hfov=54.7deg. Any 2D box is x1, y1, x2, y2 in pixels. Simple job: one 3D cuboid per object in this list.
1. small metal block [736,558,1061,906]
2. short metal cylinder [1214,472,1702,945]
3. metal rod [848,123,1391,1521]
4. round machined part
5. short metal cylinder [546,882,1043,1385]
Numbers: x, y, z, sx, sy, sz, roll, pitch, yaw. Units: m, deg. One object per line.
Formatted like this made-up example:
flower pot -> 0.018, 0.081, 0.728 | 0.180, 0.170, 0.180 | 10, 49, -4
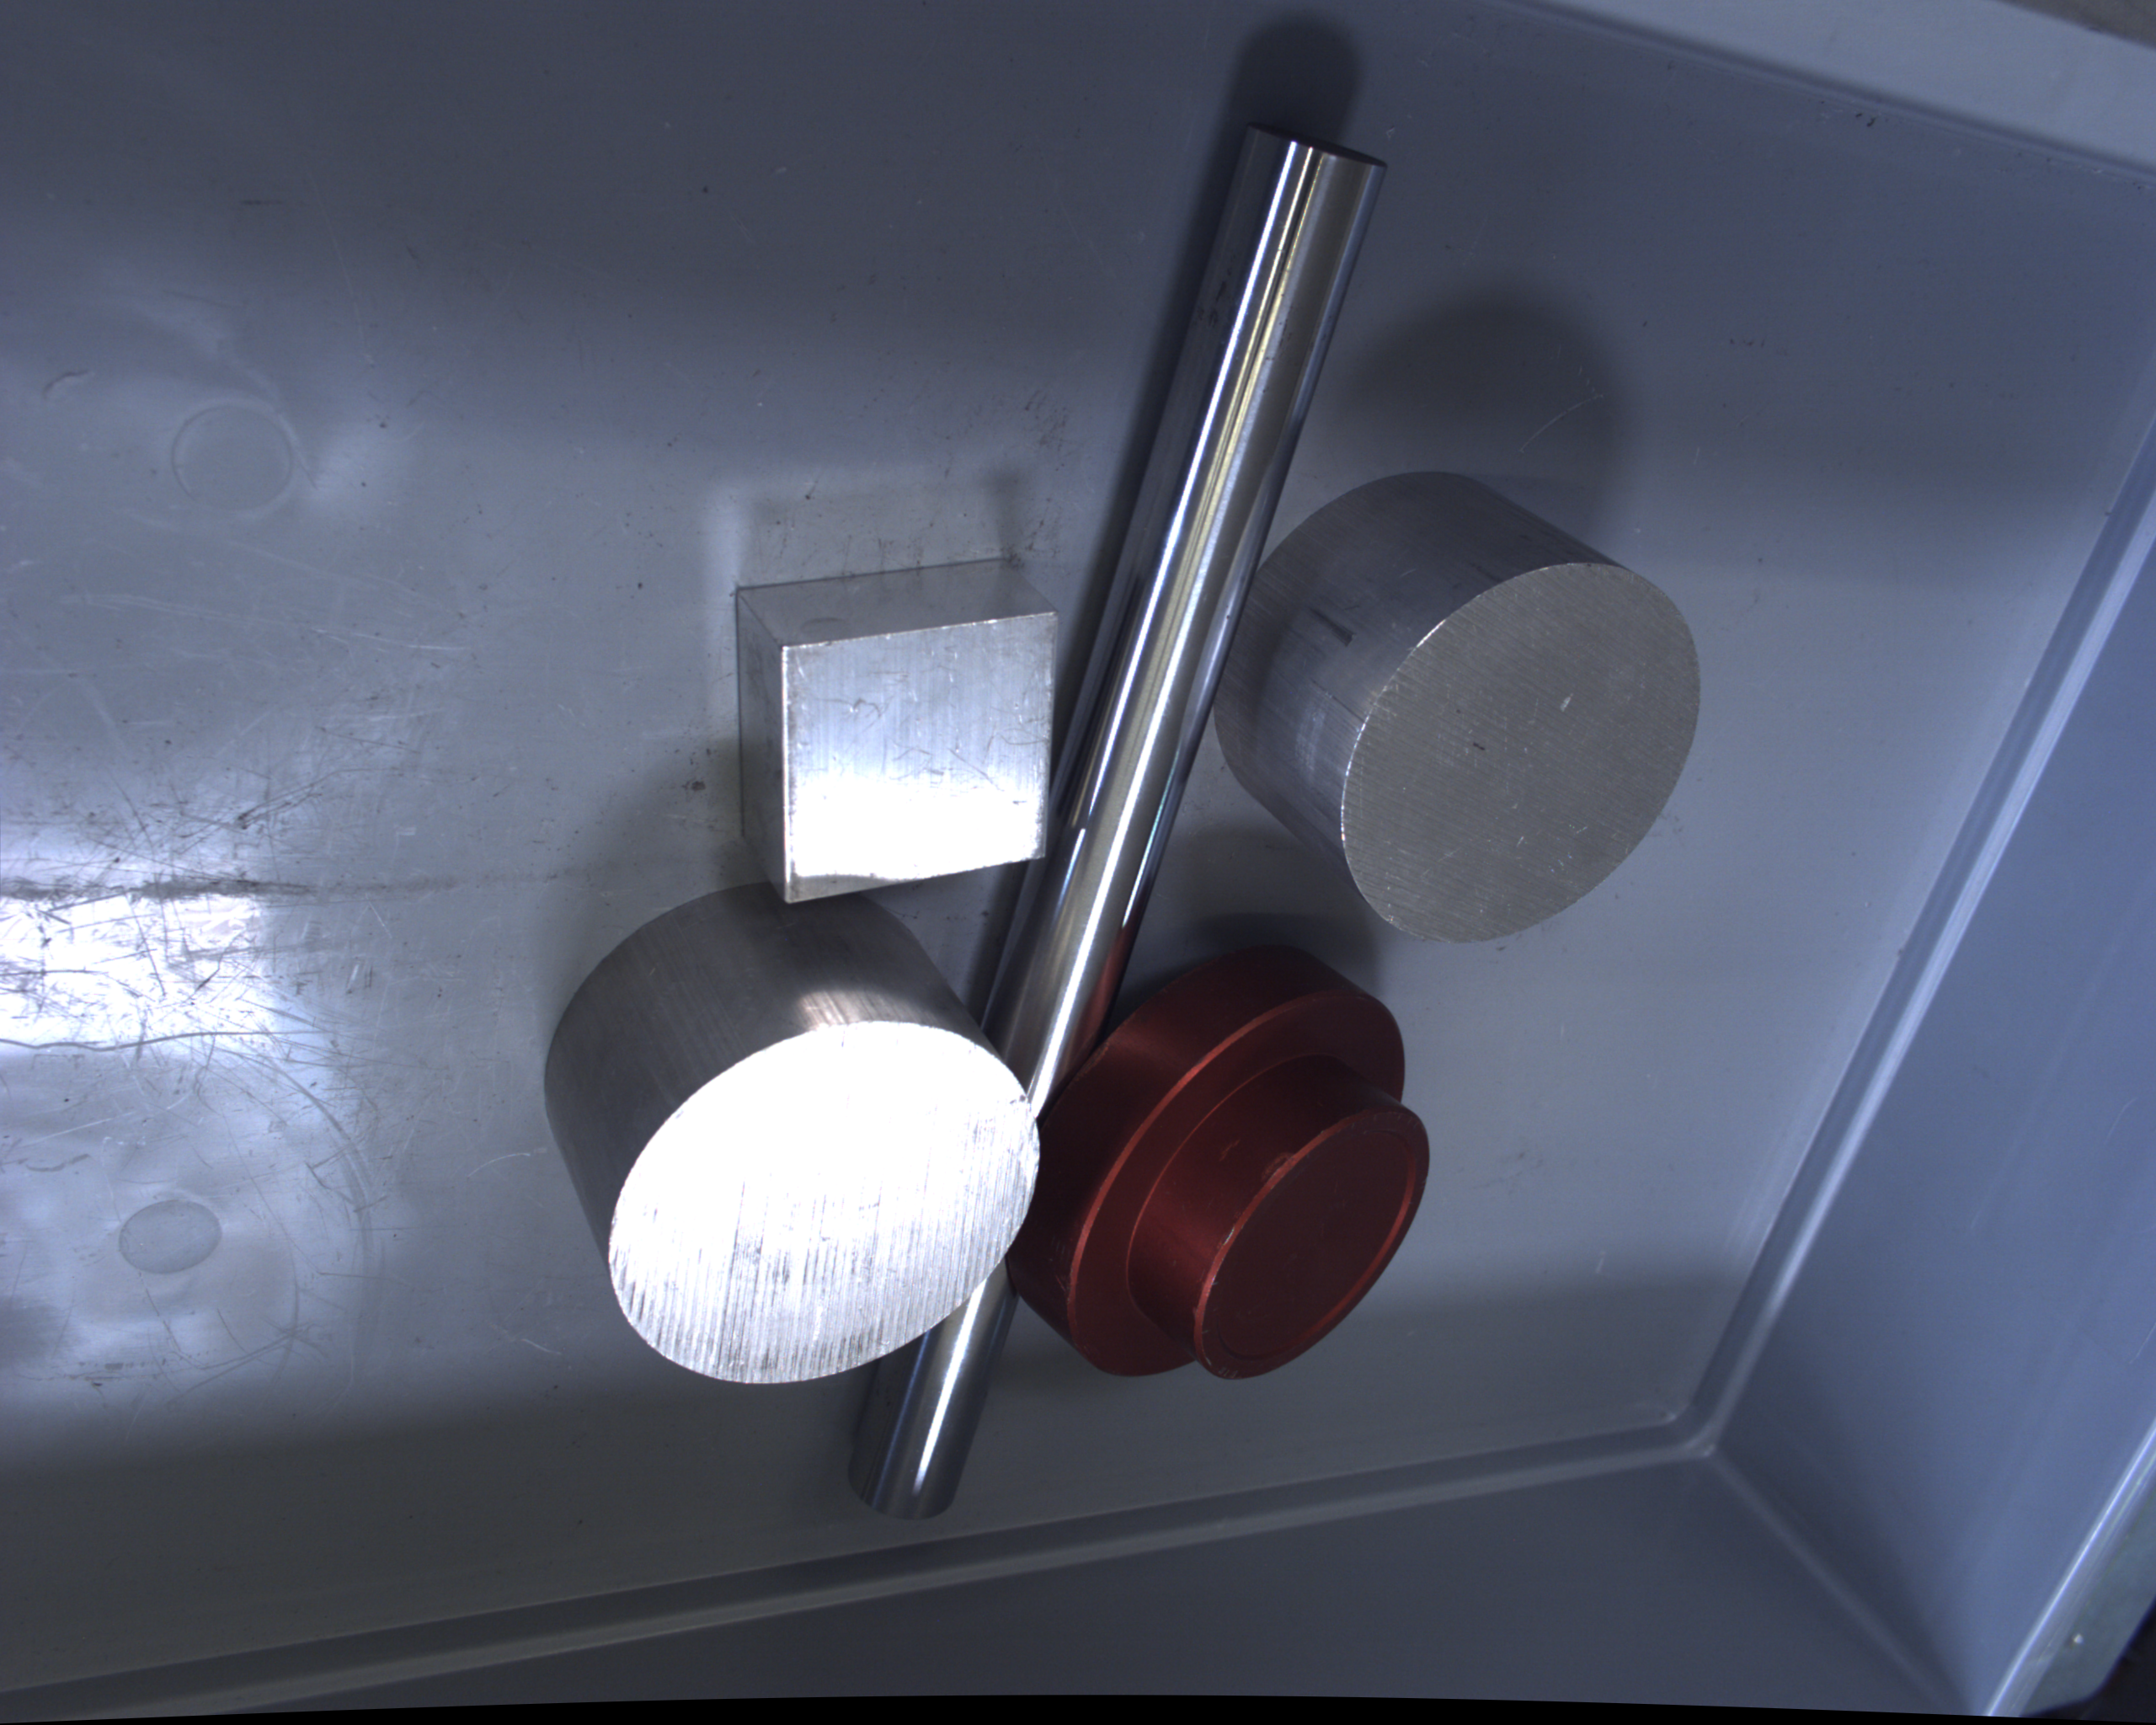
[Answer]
small metal block -> -0.032, -0.024, 0.374 | 0.050, 0.025, 0.050 | -11, 123, -23
short metal cylinder -> 0.074, -0.031, 0.411 | 0.081, 0.050, 0.079 | -14, 124, -21
metal rod -> 0.001, 0.009, 0.412 | 0.025, 0.025, 0.298 | 3, 117, -30
round machined part -> 0.036, 0.070, 0.443 | 0.099, 0.042, 0.097 | -27, 134, -31
short metal cylinder -> -0.054, 0.050, 0.391 | 0.081, 0.050, 0.079 | -14, 124, -21
